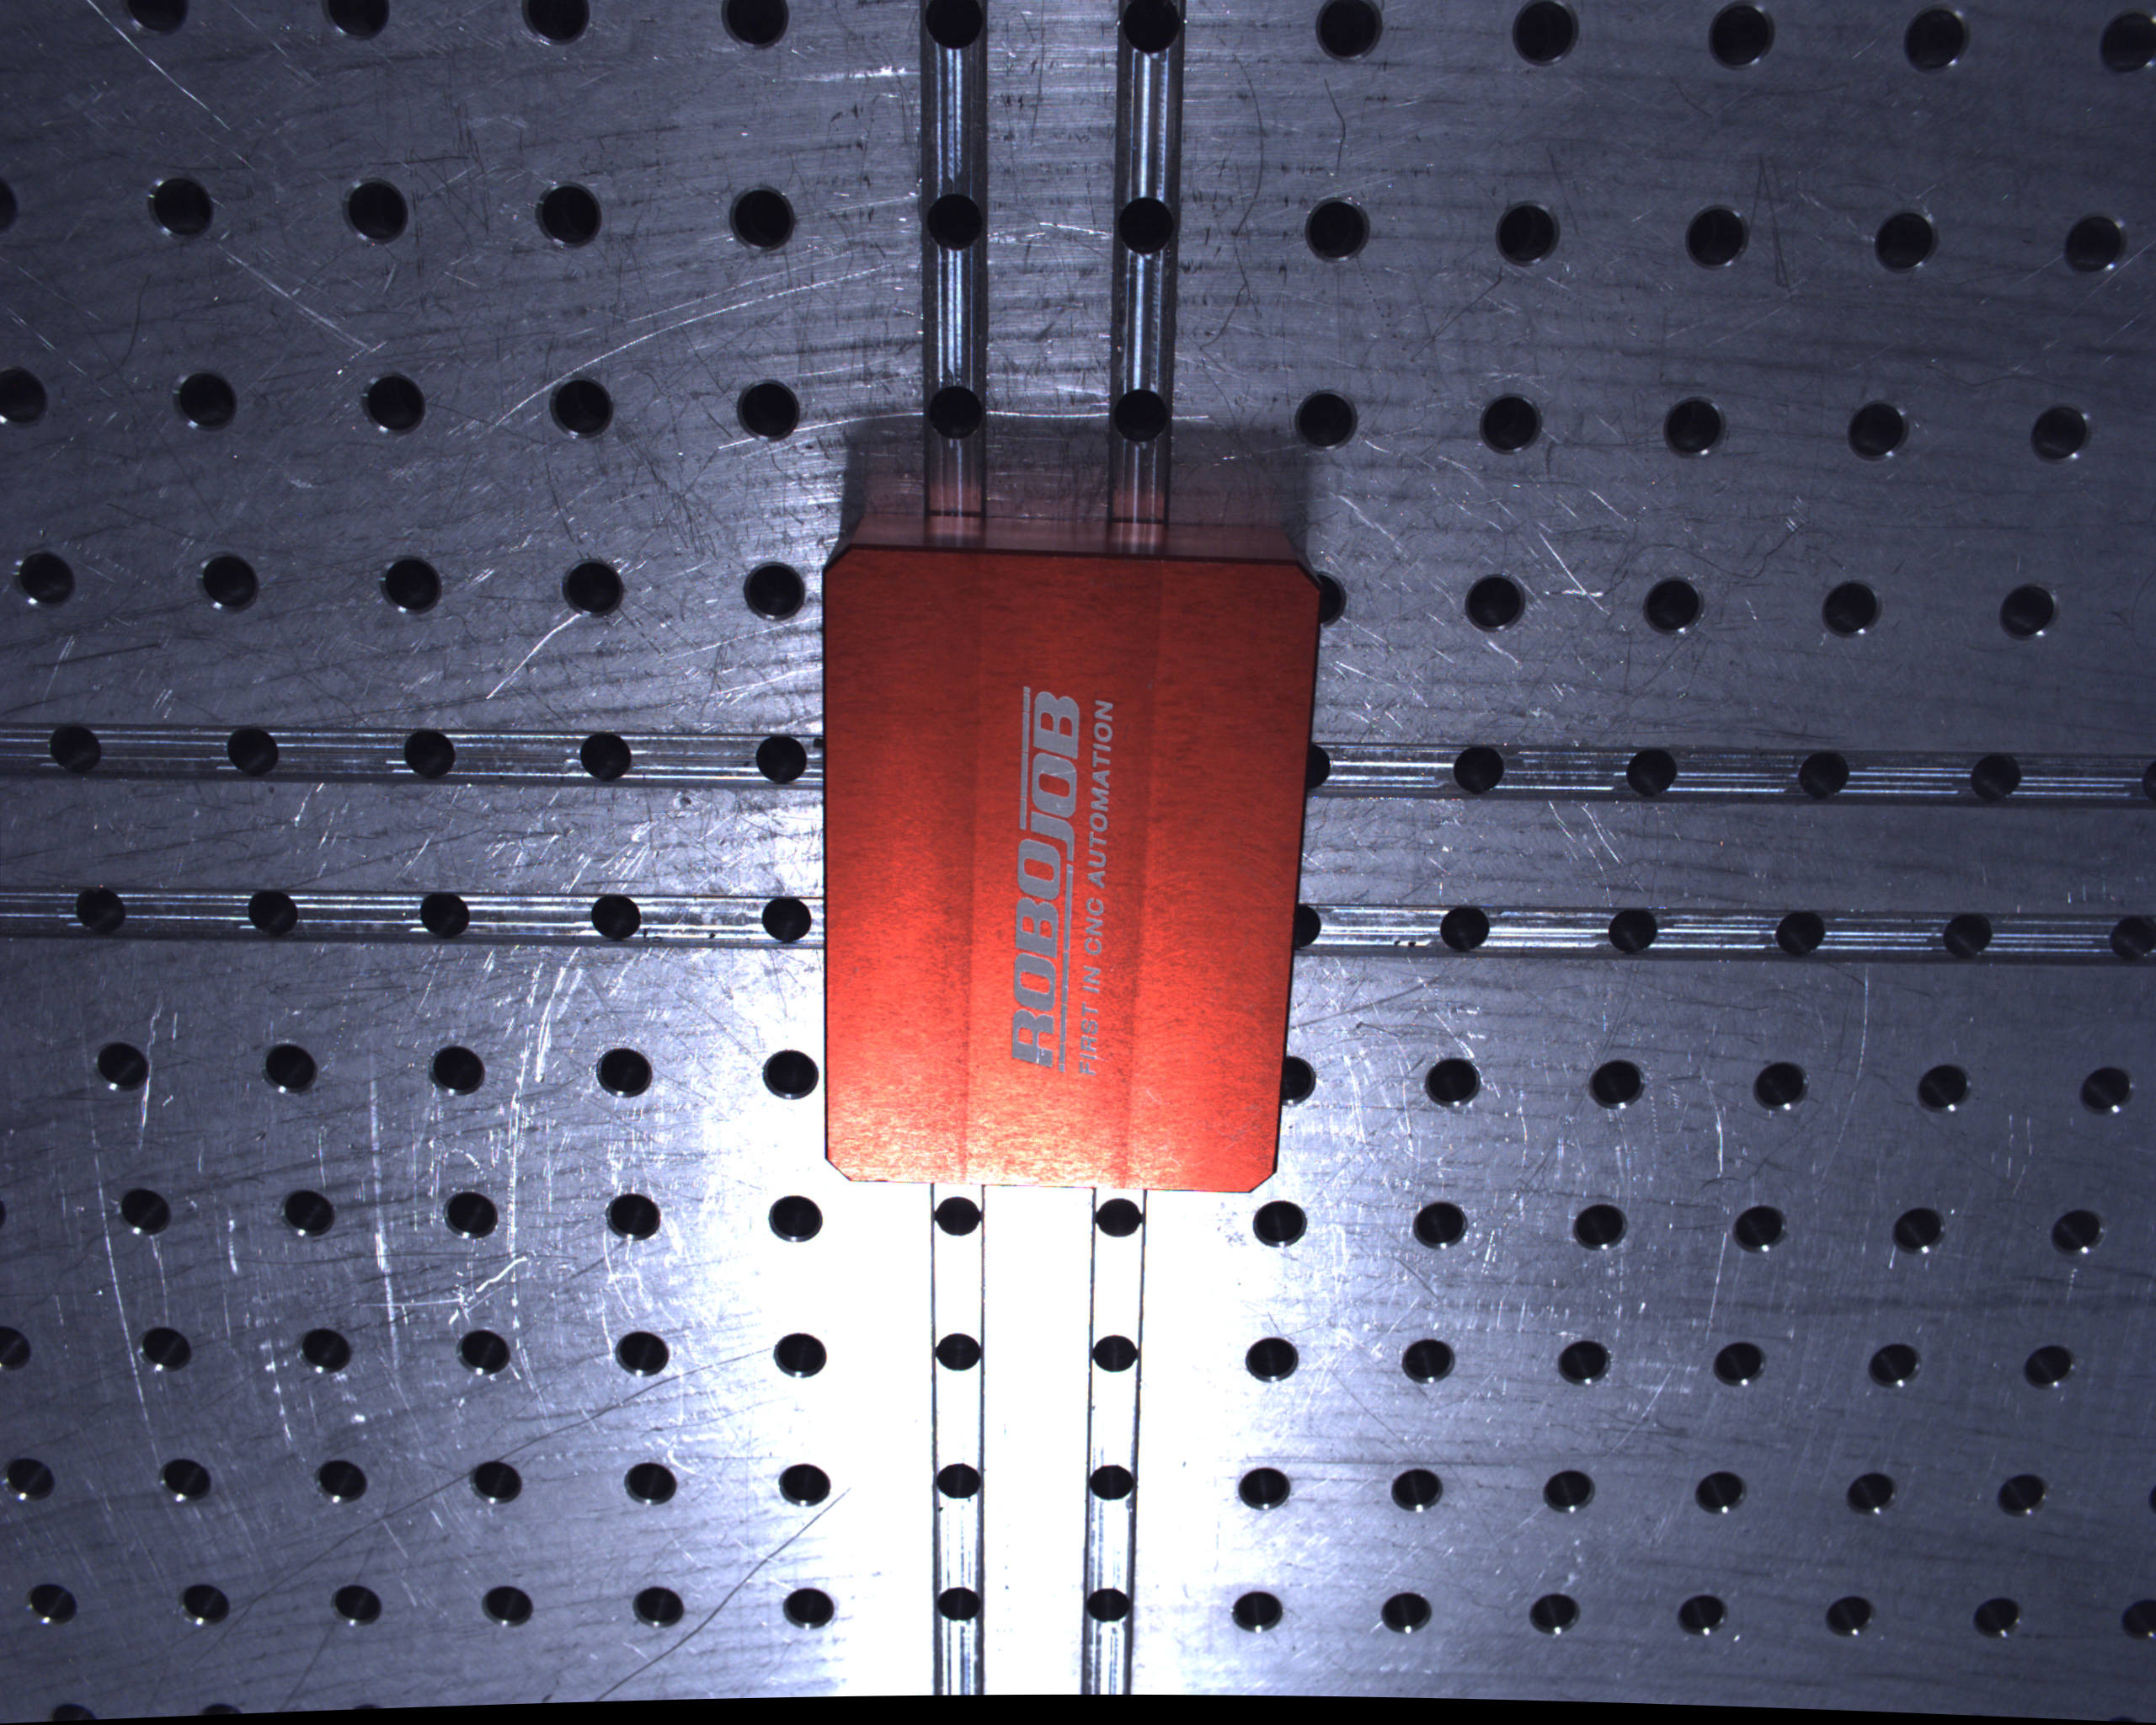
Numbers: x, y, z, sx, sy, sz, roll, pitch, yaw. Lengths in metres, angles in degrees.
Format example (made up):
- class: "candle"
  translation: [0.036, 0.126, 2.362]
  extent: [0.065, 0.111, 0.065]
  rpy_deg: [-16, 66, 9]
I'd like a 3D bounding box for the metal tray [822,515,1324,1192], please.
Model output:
- class: "metal tray"
  translation: [-0.003, 0.000, 0.410]
  extent: [0.091, 0.030, 0.129]
  rpy_deg: [2, 110, -1]
